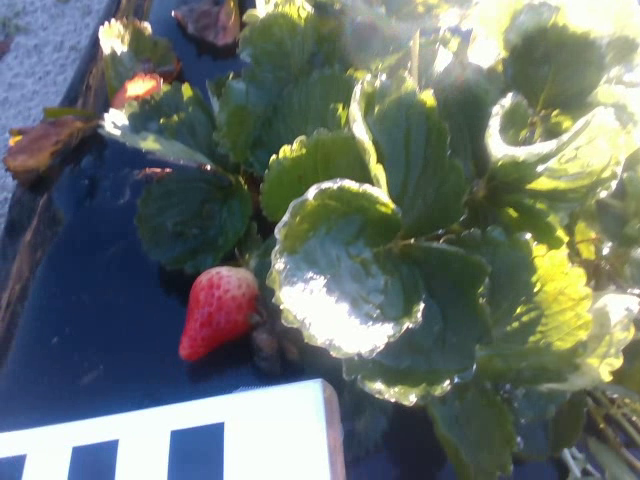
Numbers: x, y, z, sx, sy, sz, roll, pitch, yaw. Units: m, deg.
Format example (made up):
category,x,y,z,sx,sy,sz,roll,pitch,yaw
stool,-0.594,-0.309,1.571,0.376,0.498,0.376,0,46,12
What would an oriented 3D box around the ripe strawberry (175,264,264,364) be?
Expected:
category,x,y,z,sx,sy,sz,roll,pitch,yaw
ripe strawberry,-0.064,0.038,0.316,0.040,0.065,0.040,28,-17,30
